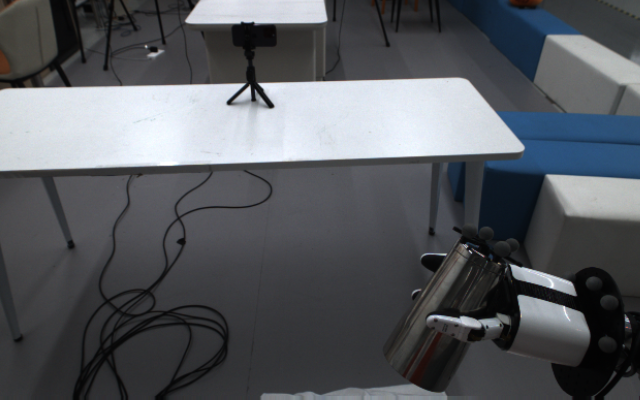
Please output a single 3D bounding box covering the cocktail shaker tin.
[{"bbox_3d":[0.160,0.134,0.595,0.093,0.170,0.093,24,13,-6],"label":"cocktail shaker tin"}]
